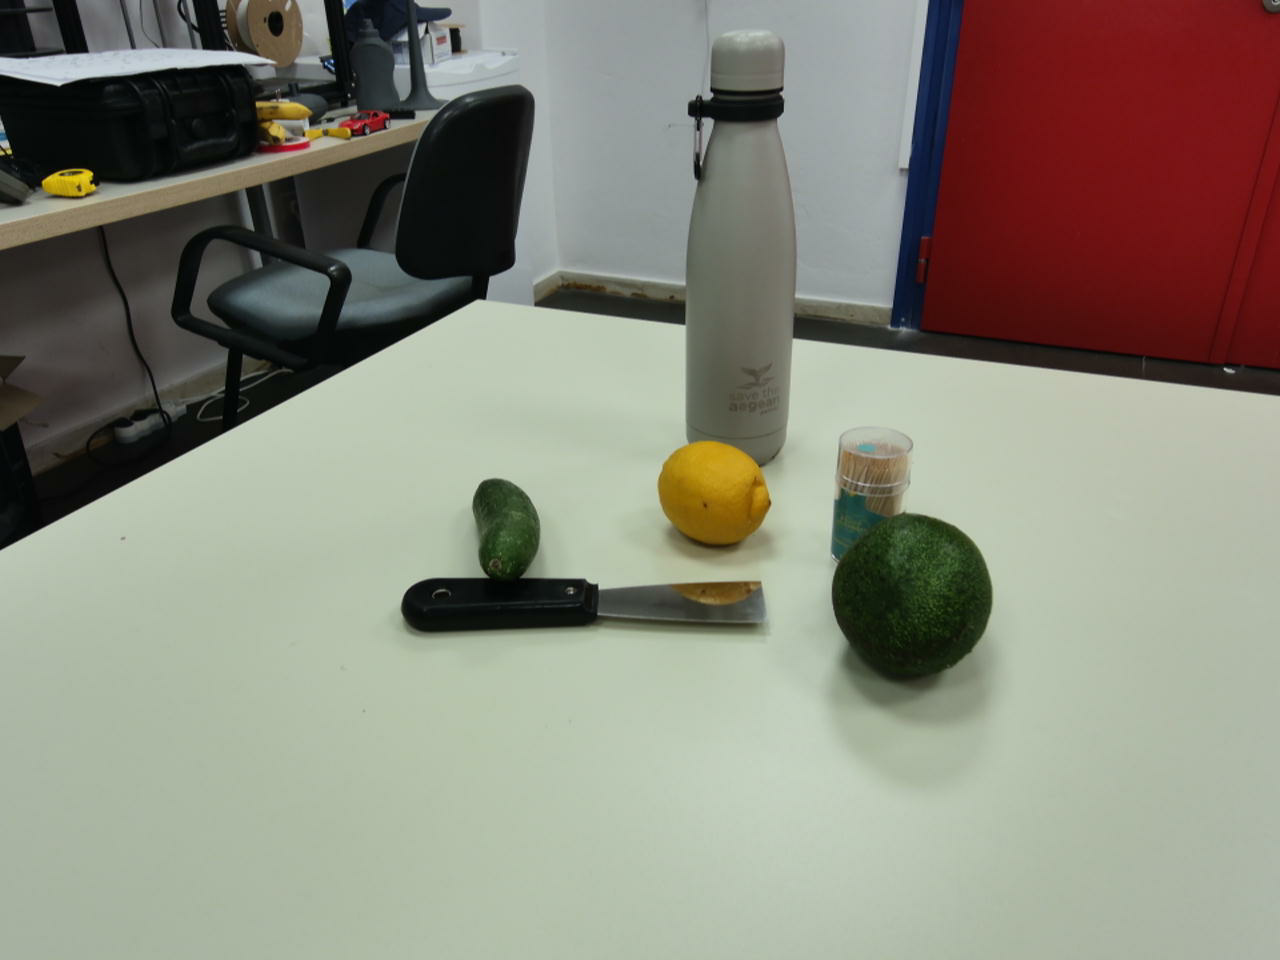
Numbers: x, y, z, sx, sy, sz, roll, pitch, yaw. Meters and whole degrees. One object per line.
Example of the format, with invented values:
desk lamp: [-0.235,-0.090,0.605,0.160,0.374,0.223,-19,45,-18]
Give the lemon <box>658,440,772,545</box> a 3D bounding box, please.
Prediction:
lemon: [0.043,0.008,0.594,0.061,0.059,0.067,-10,28,-21]
